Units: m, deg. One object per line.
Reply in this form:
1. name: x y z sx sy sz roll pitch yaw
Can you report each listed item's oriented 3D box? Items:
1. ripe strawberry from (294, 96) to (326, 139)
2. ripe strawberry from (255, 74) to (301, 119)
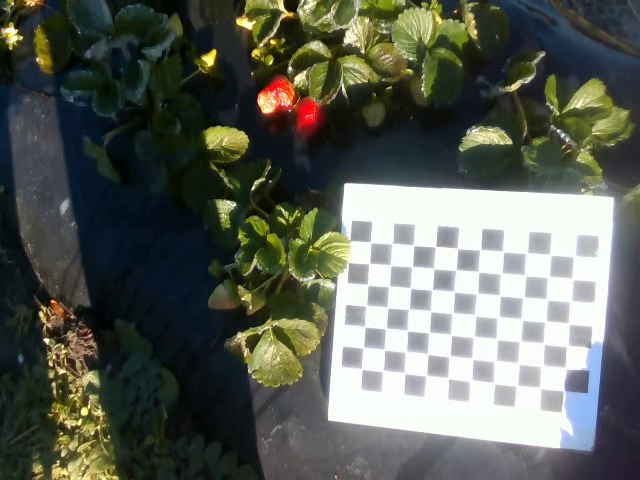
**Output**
1. ripe strawberry: -0.018 -0.175 0.820 0.044 0.059 0.040 4 -5 10
2. ripe strawberry: -0.062 -0.201 0.838 0.070 0.052 0.040 -40 0 0
